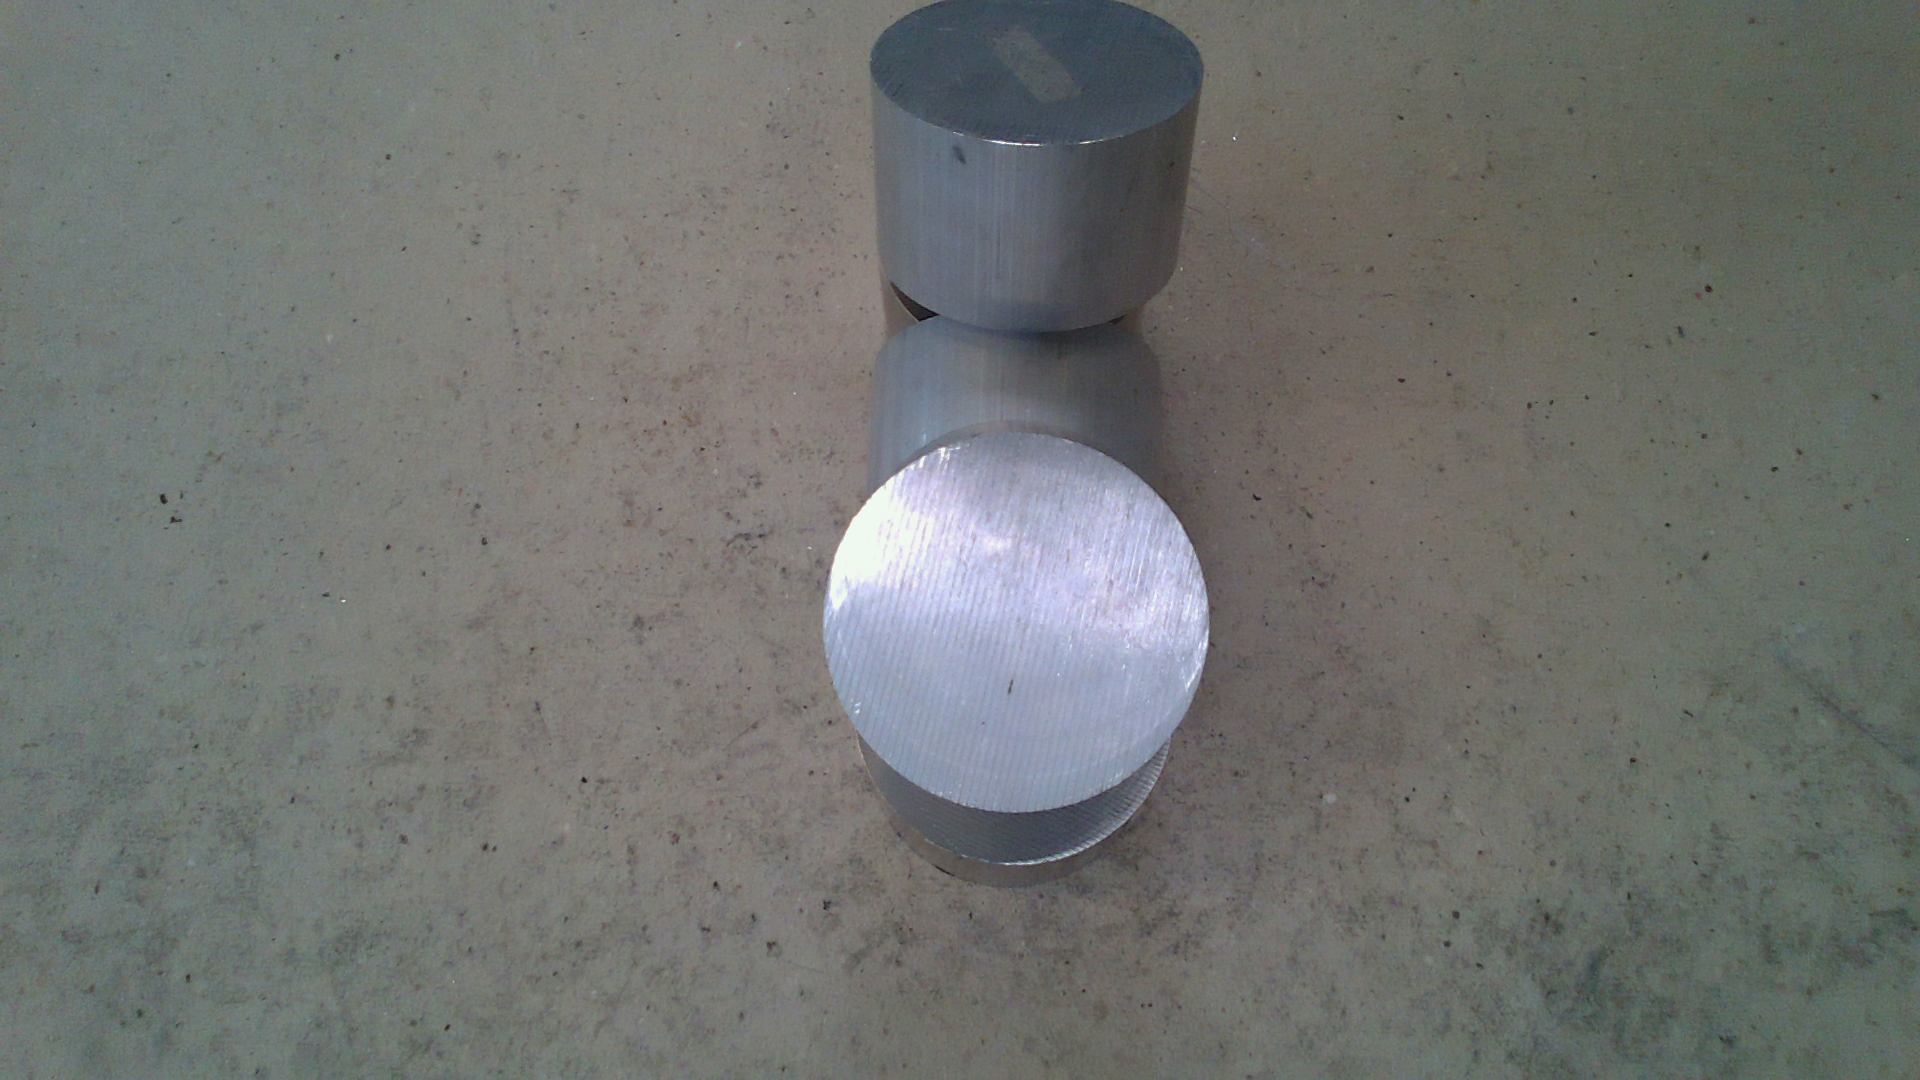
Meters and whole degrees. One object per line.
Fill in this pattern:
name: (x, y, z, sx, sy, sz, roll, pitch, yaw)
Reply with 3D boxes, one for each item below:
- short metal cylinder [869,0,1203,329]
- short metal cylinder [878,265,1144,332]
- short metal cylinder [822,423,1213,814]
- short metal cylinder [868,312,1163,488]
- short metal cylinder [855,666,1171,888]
short metal cylinder: (0.018, -0.098, 0.348, 0.080, 0.050, 0.080, 1, 44, 0)
short metal cylinder: (0.016, -0.079, 0.411, 0.080, 0.050, 0.080, 0, 70, 0)
short metal cylinder: (0.012, 0.014, 0.306, 0.080, 0.050, 0.080, 0, 98, 1)
short metal cylinder: (0.015, -0.022, 0.374, 0.080, 0.080, 0.050, 1, 70, 1)
short metal cylinder: (0.013, 0.049, 0.364, 0.080, 0.050, 0.080, 0, 70, 0)
